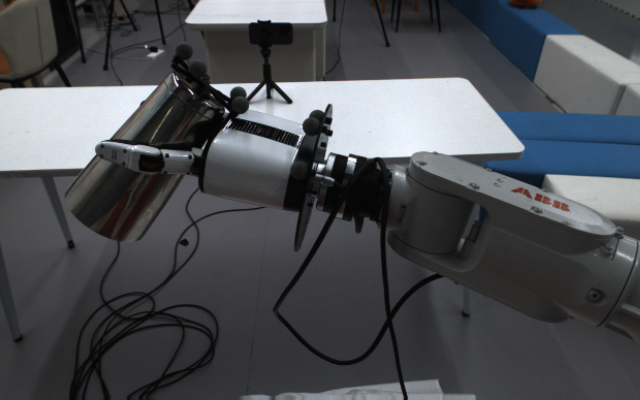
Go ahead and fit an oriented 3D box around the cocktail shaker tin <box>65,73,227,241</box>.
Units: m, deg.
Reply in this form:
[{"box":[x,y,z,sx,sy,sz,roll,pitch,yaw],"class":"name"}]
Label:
[{"box":[-0.177,-0.048,0.509,0.093,0.170,0.093,41,12,-11],"class":"cocktail shaker tin"}]
